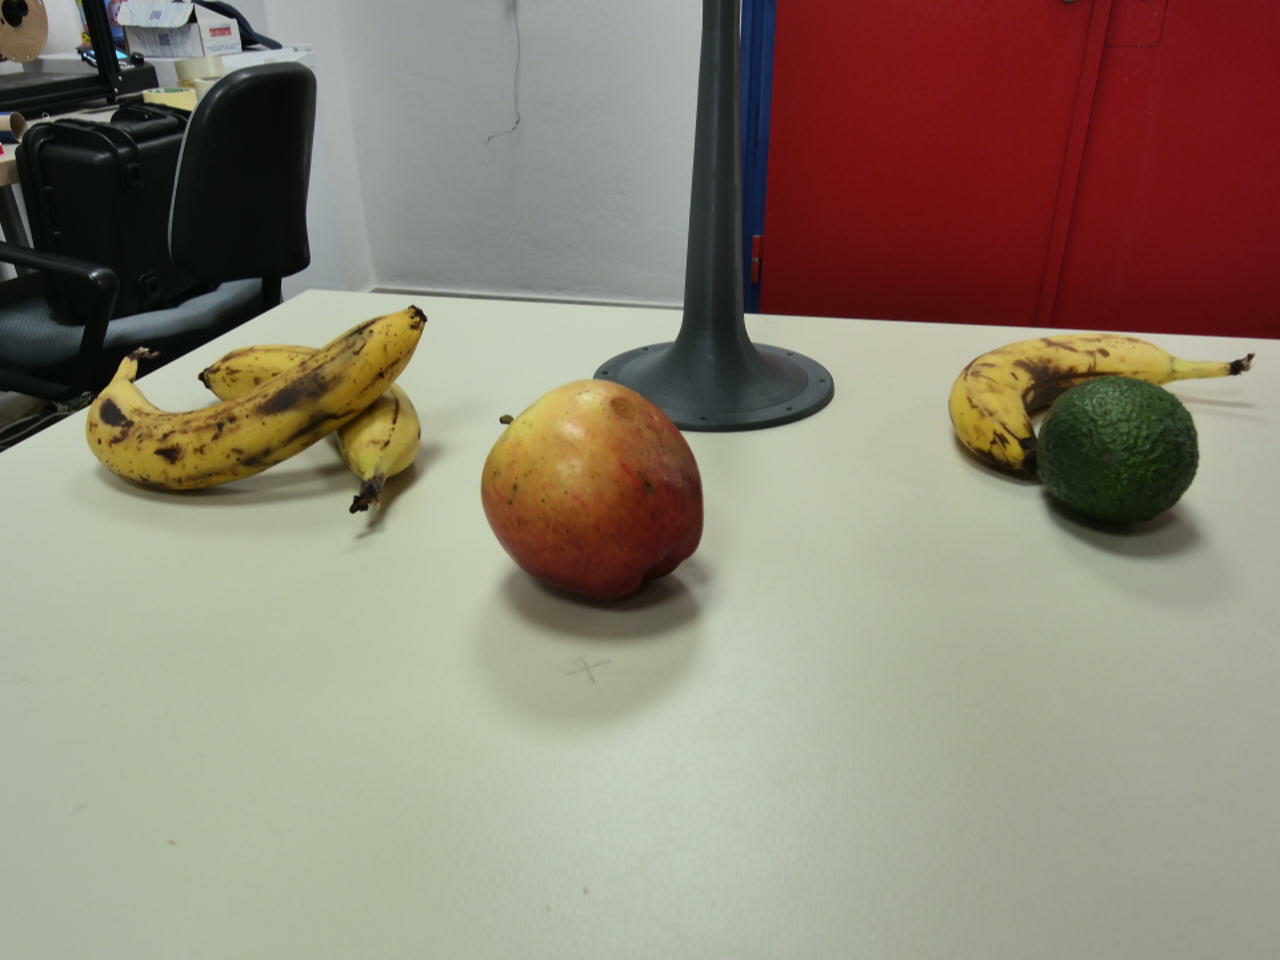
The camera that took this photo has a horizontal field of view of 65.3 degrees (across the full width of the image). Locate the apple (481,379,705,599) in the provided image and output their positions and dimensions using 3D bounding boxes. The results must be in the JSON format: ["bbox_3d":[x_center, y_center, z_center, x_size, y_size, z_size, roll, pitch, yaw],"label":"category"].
[{"bbox_3d":[-0.021,0.003,0.405,0.086,0.084,0.093,-9,26,-21],"label":"apple"}]
